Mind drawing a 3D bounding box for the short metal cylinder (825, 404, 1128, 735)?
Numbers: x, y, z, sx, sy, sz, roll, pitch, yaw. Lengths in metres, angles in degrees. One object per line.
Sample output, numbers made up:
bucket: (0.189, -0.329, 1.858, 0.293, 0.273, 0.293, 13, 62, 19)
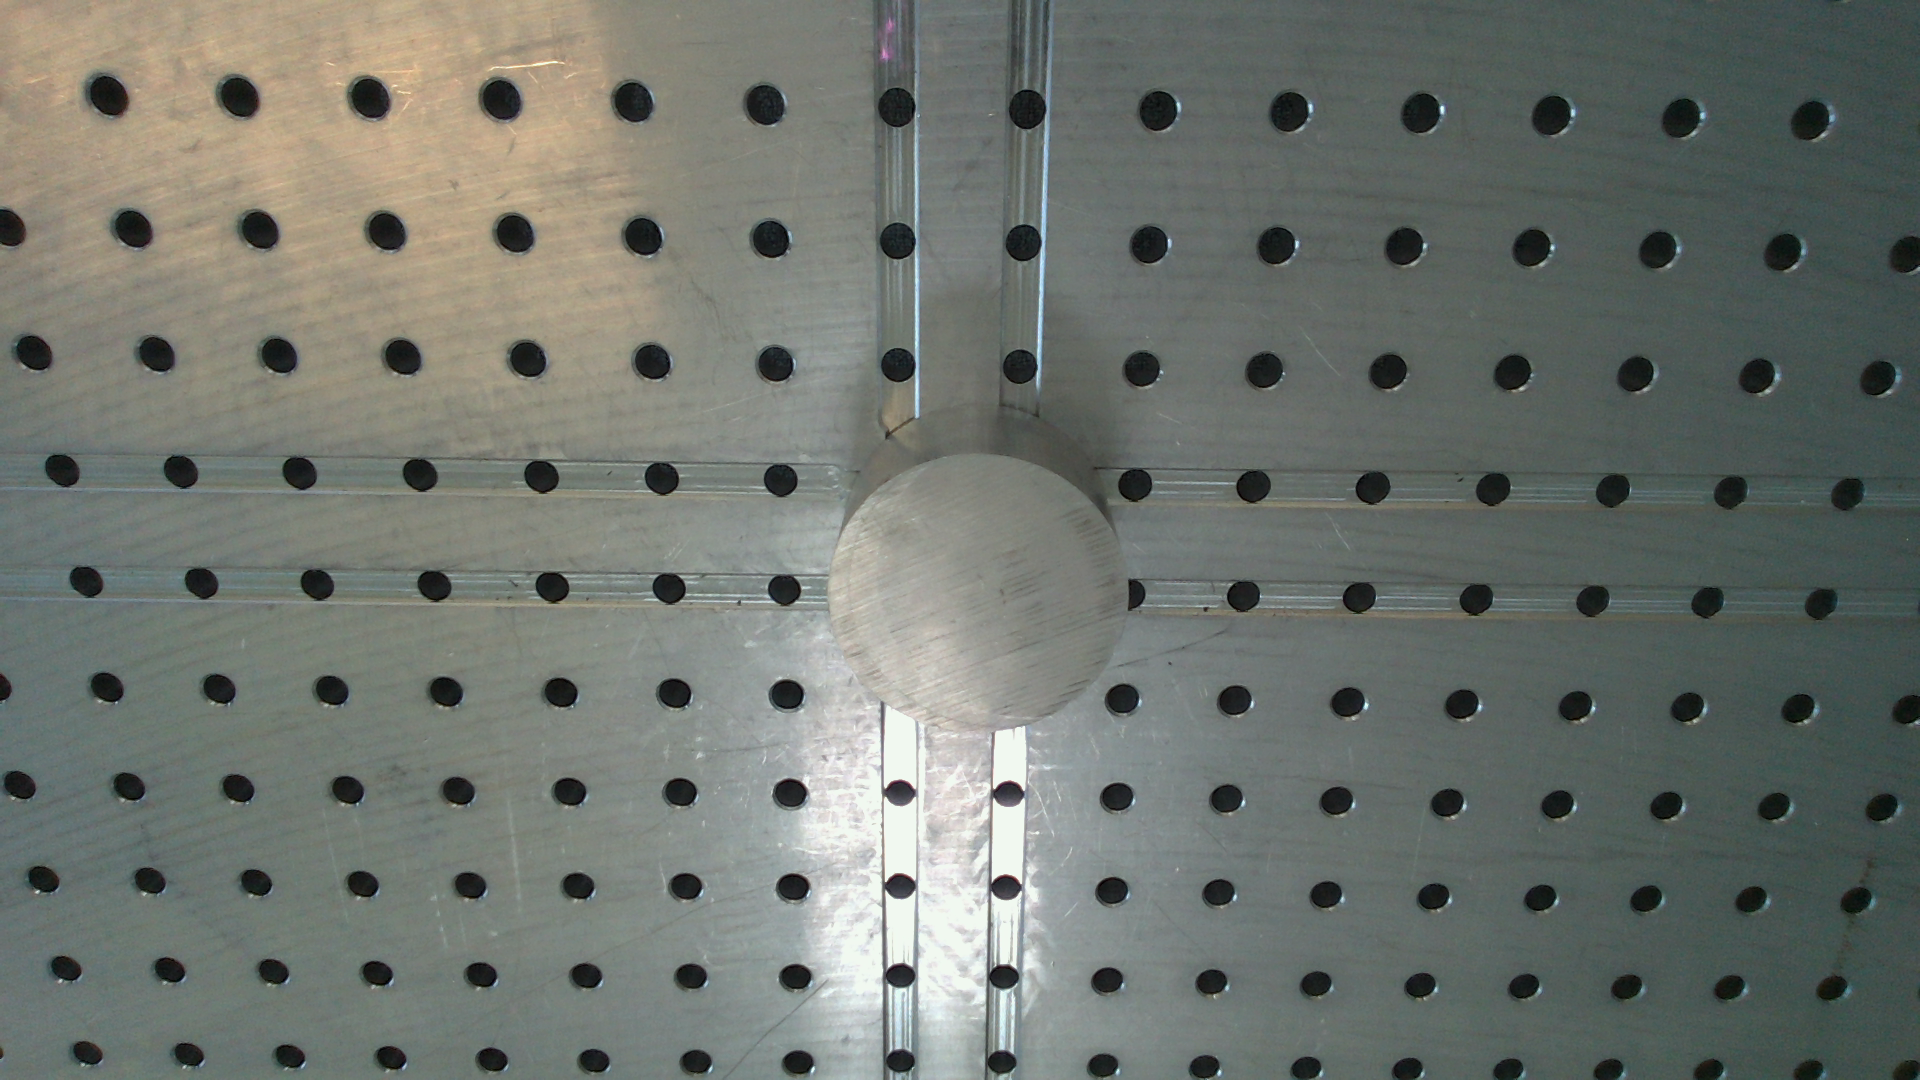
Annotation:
short metal cylinder: (0.004, 0.007, 0.386, 0.080, 0.050, 0.080, 0, 110, 0)
